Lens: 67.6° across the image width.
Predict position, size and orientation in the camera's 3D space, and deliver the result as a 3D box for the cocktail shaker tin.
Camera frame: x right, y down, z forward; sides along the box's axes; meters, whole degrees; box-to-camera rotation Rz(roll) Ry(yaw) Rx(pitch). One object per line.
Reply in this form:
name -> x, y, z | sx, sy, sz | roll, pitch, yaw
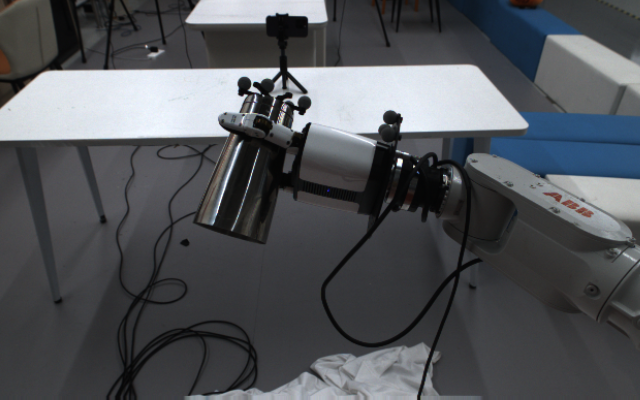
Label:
cocktail shaker tin -> -0.084, -0.042, 0.601 | 0.093, 0.093, 0.170 | 13, 79, 15
